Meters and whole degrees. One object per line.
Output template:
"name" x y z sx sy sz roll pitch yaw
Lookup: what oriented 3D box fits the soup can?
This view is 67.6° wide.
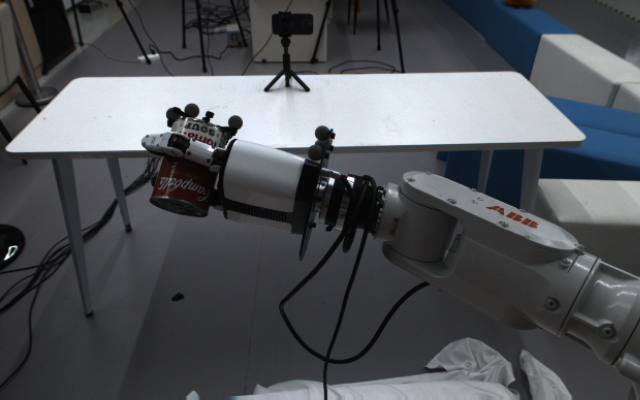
"soup can" -0.153 -0.037 0.571 0.067 0.067 0.101 8 72 8
